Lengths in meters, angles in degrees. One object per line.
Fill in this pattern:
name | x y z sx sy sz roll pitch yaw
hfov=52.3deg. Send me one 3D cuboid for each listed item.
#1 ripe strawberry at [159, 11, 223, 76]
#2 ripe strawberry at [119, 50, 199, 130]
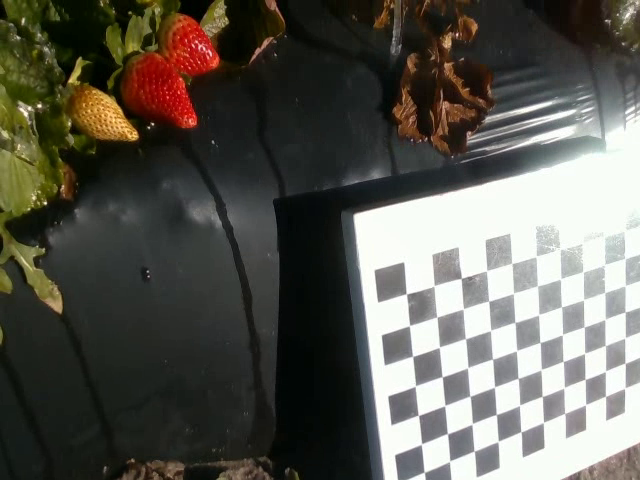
ripe strawberry | -0.075 -0.112 0.377 0.041 0.036 0.030 16 3 -23
ripe strawberry | -0.084 -0.077 0.359 0.052 0.037 0.040 37 -10 10
